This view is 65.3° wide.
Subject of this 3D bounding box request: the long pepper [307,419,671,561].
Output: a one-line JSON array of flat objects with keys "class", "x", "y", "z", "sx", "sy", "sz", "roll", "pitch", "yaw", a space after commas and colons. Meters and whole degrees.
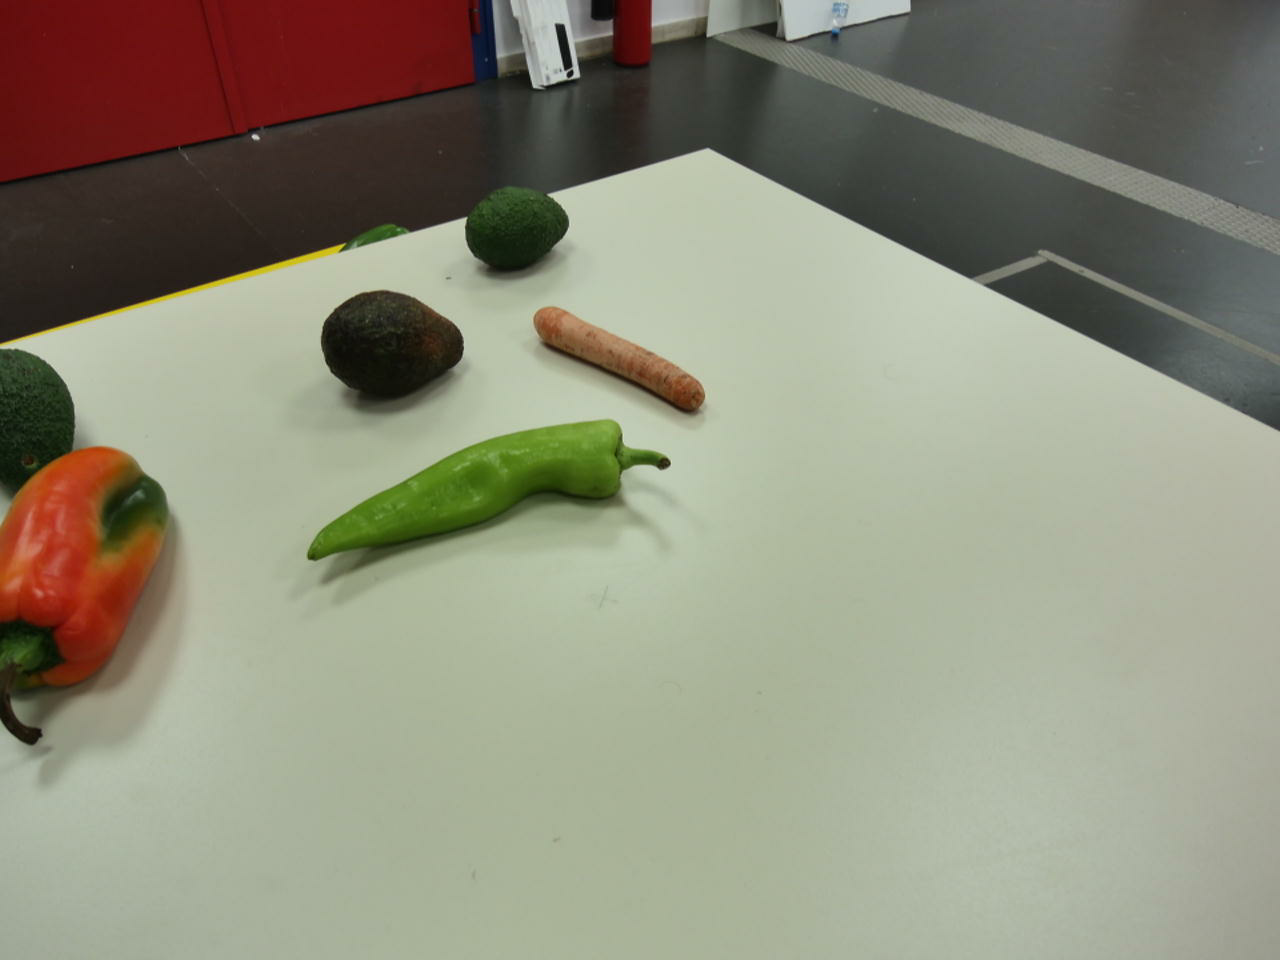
[{"class": "long pepper", "x": -0.087, "y": 0.002, "z": 0.571, "sx": 0.204, "sy": 0.045, "sz": 0.065, "roll": -13, "pitch": 40, "yaw": -17}]
